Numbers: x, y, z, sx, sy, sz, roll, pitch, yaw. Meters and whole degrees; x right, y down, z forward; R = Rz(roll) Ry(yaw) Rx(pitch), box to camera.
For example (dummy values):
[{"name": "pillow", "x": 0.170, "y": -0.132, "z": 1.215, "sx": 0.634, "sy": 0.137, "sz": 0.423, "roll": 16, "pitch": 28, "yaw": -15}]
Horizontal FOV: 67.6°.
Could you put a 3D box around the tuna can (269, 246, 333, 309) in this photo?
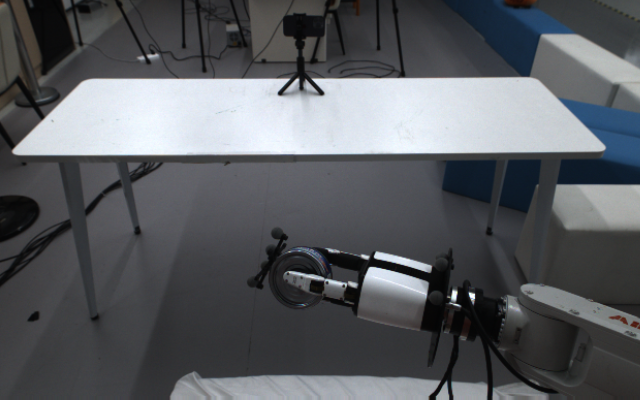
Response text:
[{"name": "tuna can", "x": -0.025, "y": 0.112, "z": 0.675, "sx": 0.085, "sy": 0.085, "sz": 0.034, "roll": 10, "pitch": 4, "yaw": 11}]
